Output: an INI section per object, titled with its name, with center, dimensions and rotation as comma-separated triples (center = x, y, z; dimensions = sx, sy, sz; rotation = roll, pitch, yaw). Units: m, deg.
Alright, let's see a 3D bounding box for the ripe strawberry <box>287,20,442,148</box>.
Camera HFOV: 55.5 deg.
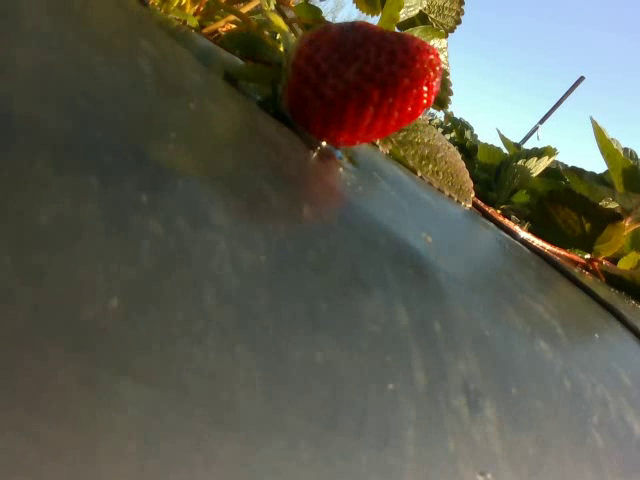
[ripe strawberry]
center = 0.009, -0.031, 0.115
dimensions = 0.028, 0.031, 0.041
rotation = -7, 5, -40
